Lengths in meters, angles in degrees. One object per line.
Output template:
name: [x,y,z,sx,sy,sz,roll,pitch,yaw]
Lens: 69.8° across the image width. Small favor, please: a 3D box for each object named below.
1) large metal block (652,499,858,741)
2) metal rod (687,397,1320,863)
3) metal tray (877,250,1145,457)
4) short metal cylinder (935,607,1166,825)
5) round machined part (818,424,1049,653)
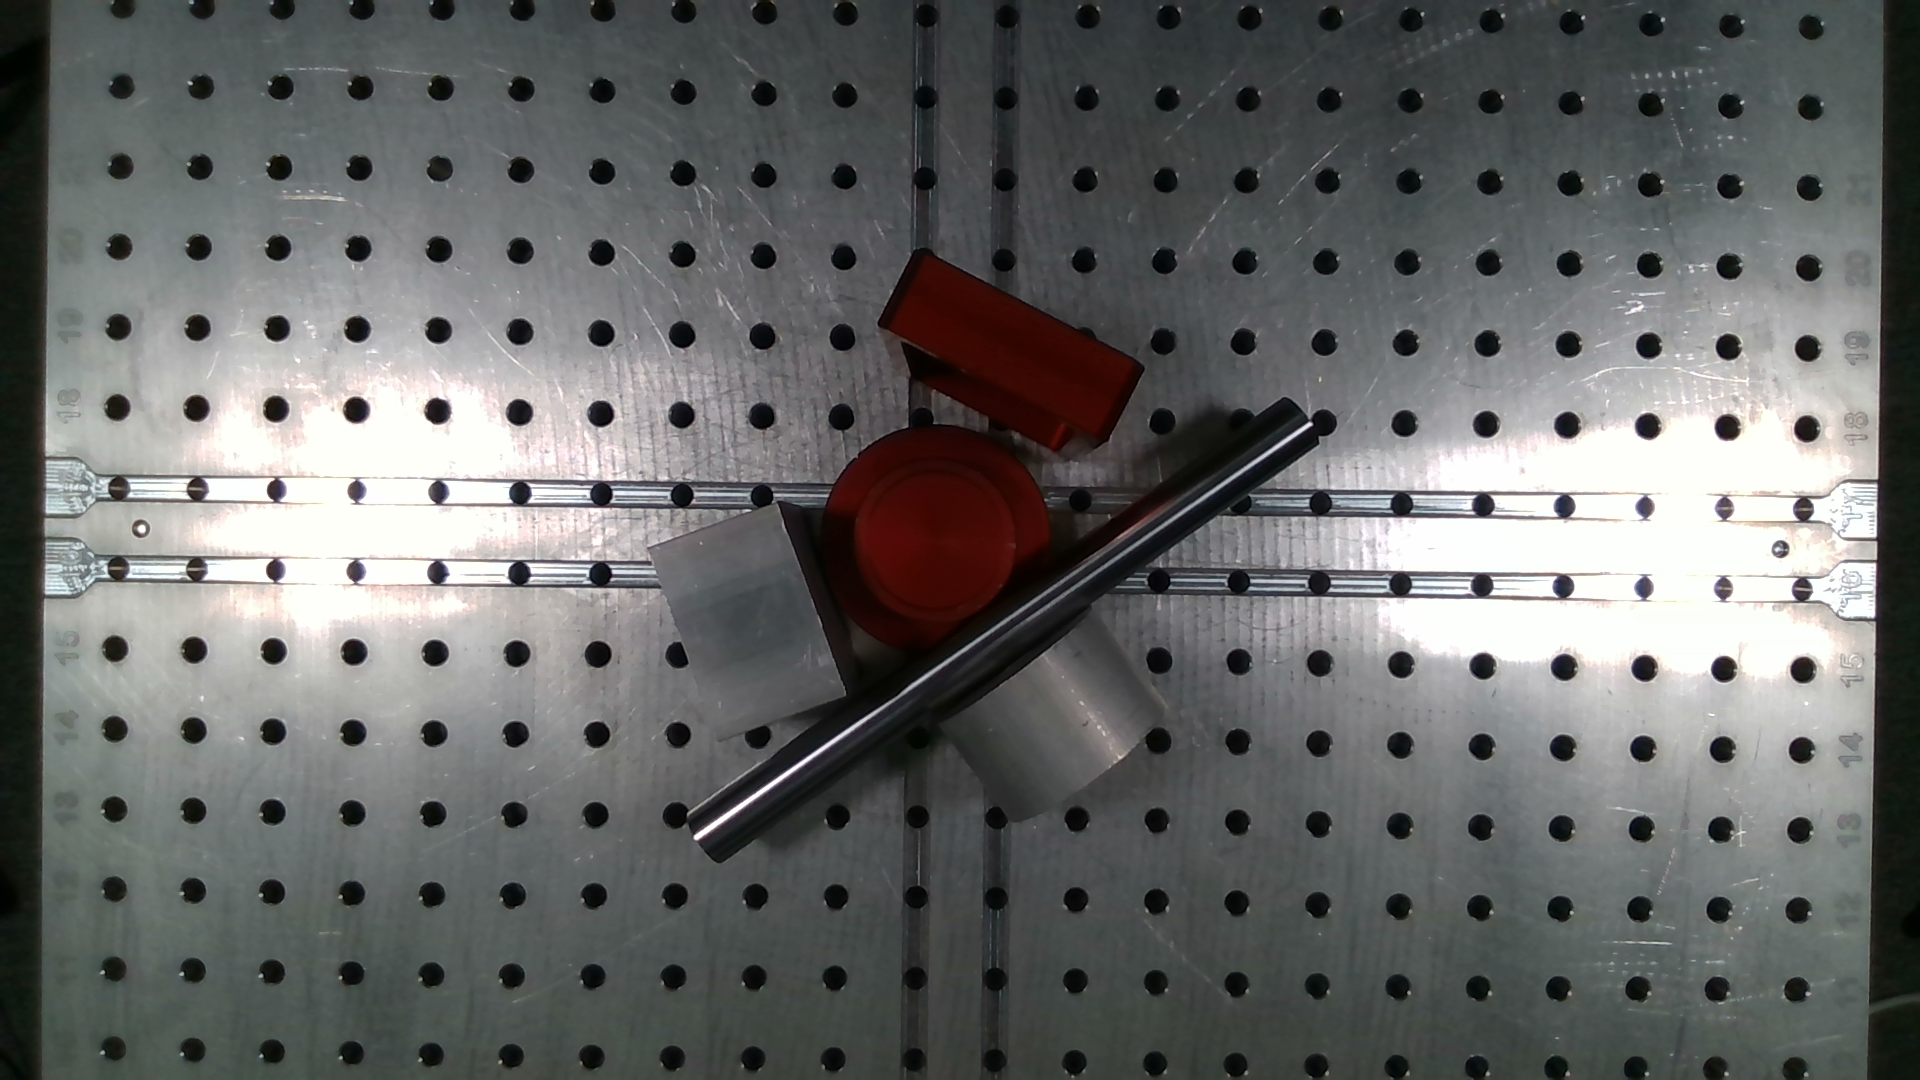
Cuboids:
large metal block: [-0.080,0.030,0.562,0.050,0.080,0.080,-19,90,0]
metal rod: [0.018,0.037,0.568,0.300,0.025,0.025,-35,90,0]
metal tray: [0.018,-0.067,0.537,0.090,0.130,0.030,27,90,0]
short metal cylinder: [0.037,0.071,0.561,0.080,0.080,0.050,-37,90,0]
round machined part: [-0.011,0.000,0.580,0.098,0.042,0.098,0,90,0]
